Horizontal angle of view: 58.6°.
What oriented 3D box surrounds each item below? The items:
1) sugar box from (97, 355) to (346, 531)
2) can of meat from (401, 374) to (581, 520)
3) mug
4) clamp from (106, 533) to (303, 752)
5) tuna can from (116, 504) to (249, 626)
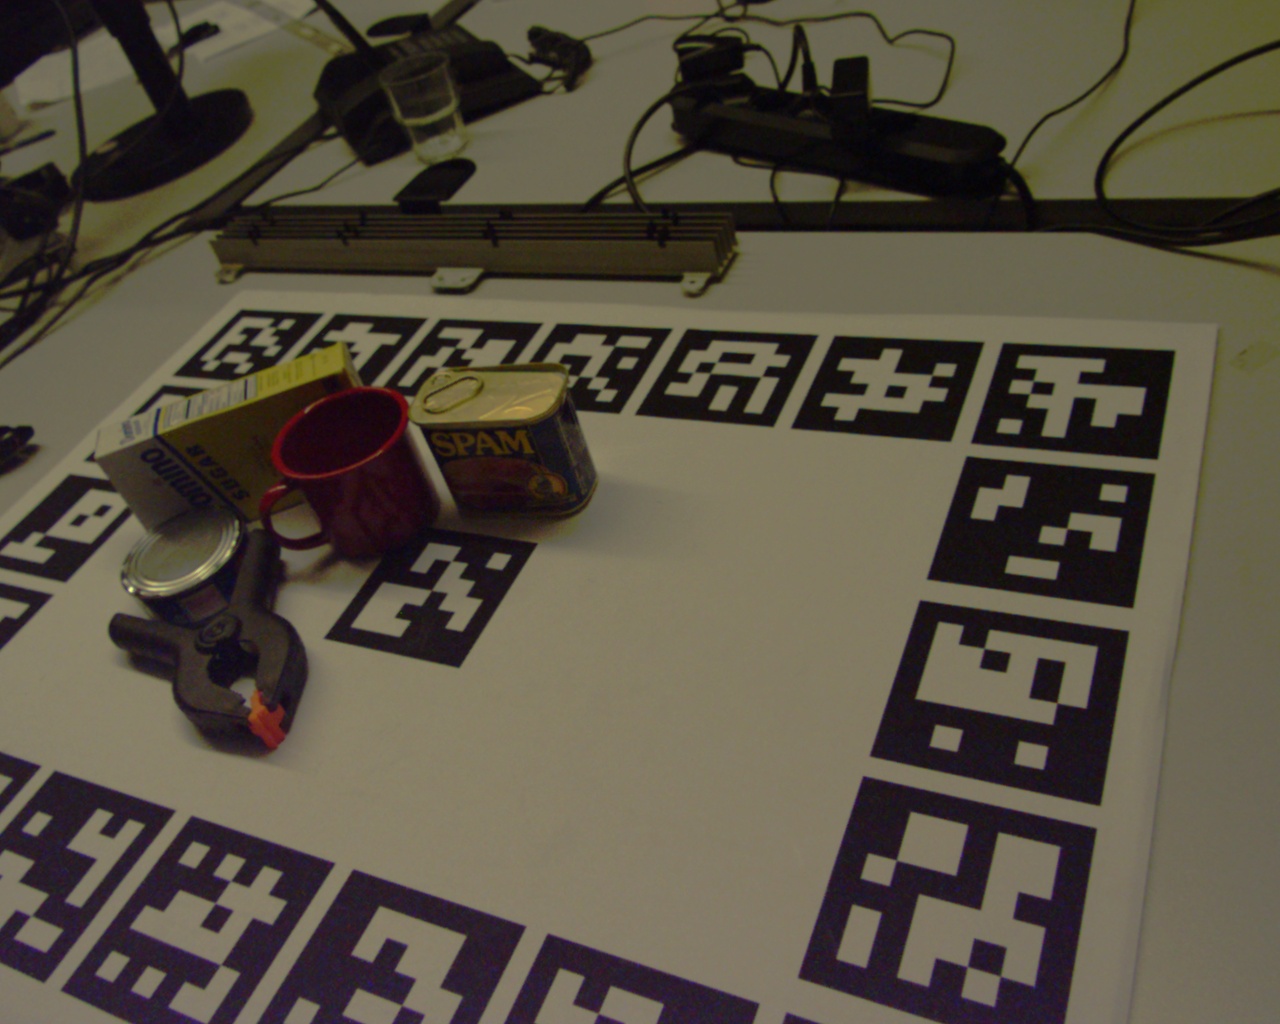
[{"bbox_3d":[-0.284,-0.040,0.824,0.176,0.092,0.046,-20,41,-2],"label":"sugar box"},{"bbox_3d":[-0.097,-0.042,0.762,0.103,0.083,0.058,1,45,19],"label":"can of meat"},{"bbox_3d":[-0.207,-0.022,0.771,0.116,0.081,0.094,-41,47,-20],"label":"mug"},{"bbox_3d":[-0.263,0.088,0.724,0.121,0.036,0.167,-30,47,-17],"label":"clamp"},{"bbox_3d":[-0.314,0.037,0.788,0.086,0.033,0.086,-11,45,10],"label":"tuna can"}]
